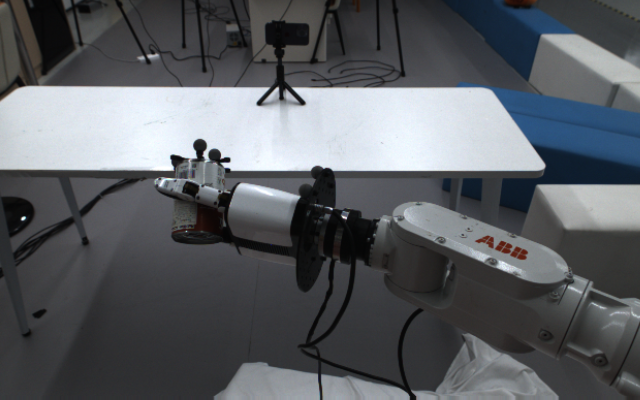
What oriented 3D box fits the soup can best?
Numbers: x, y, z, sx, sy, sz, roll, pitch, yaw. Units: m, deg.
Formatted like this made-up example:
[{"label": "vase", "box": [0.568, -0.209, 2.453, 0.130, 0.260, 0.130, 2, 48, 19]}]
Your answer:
[{"label": "soup can", "box": [-0.161, 0.004, 0.648, 0.067, 0.067, 0.101, -1, 71, -5]}]
